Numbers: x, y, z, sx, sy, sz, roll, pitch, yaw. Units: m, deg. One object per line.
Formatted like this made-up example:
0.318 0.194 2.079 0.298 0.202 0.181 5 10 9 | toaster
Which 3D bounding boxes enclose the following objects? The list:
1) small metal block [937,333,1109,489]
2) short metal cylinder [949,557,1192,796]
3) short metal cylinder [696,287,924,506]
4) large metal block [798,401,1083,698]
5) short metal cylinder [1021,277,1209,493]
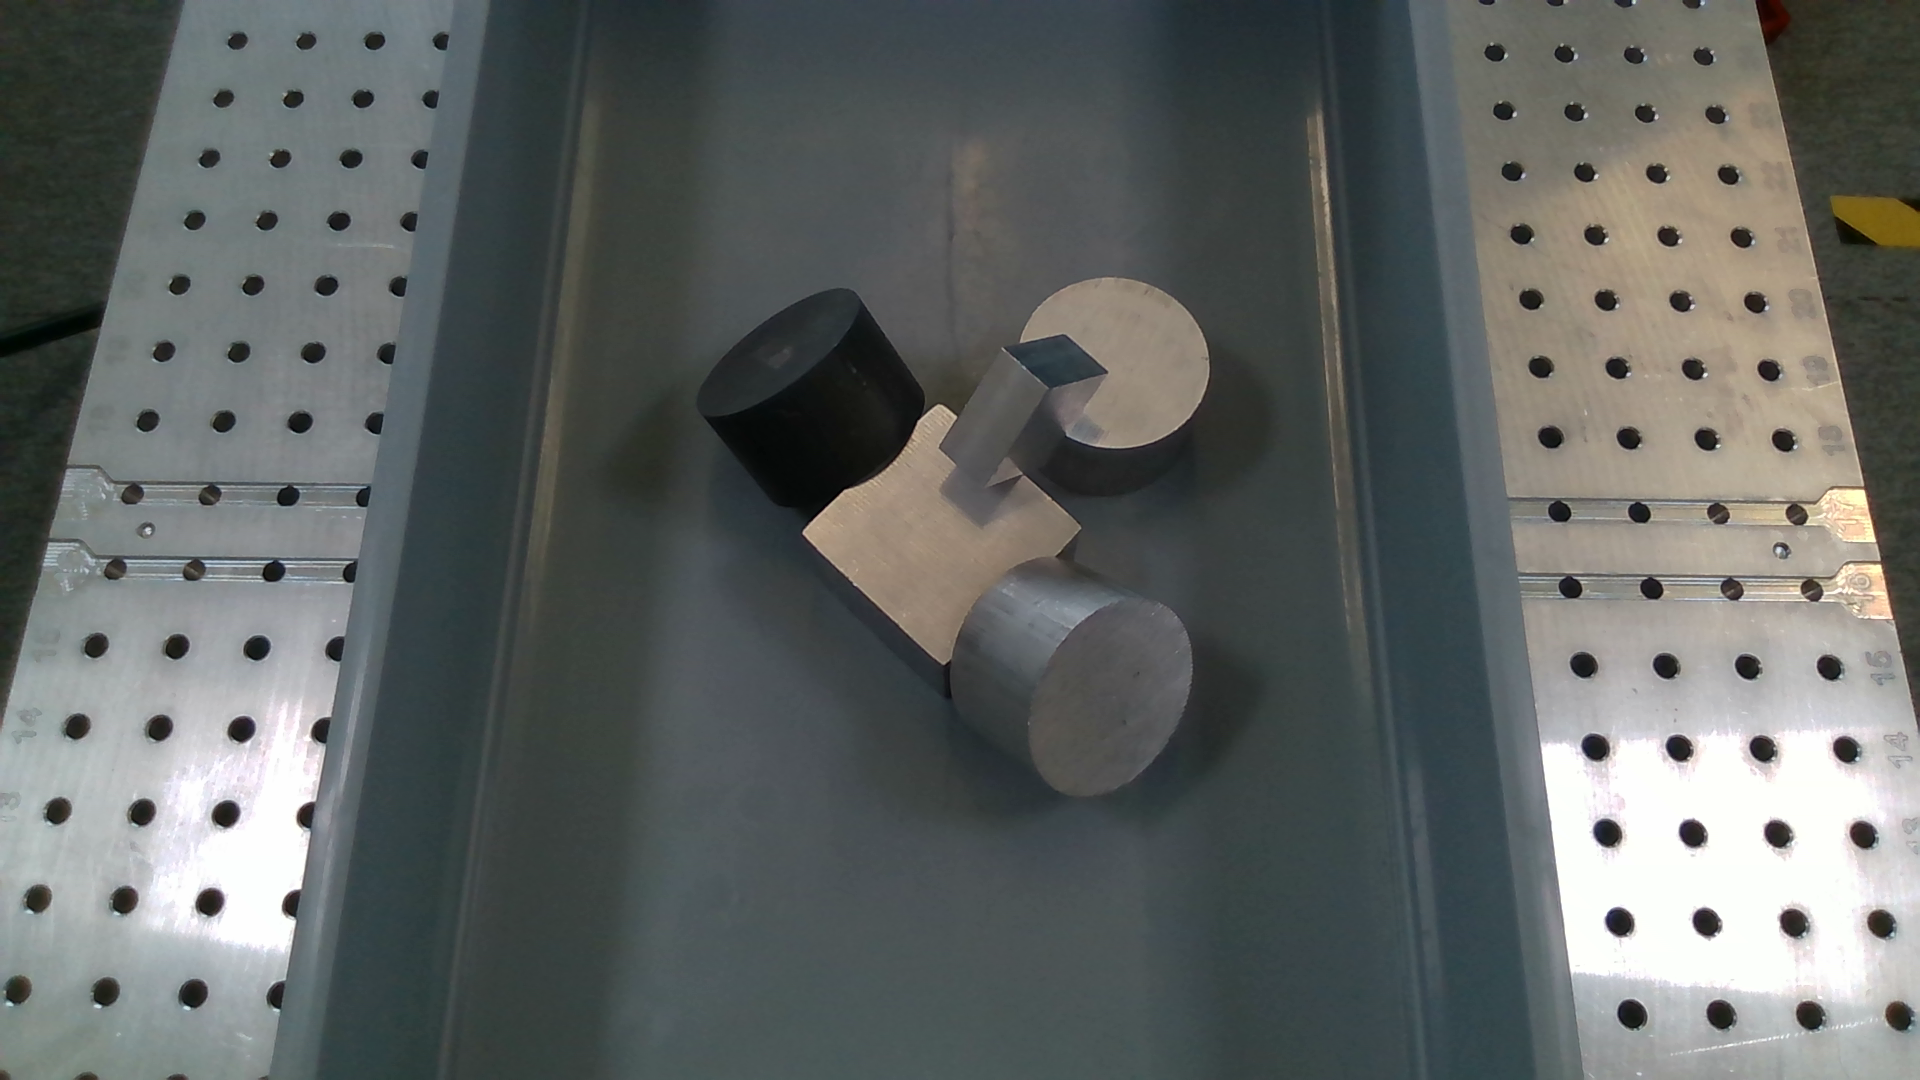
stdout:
0.025 -0.051 0.540 0.025 0.050 0.050 43 32 16 | small metal block
0.043 0.051 0.532 0.080 0.080 0.050 -45 38 -14 | short metal cylinder
-0.062 -0.060 0.573 0.080 0.050 0.080 -26 31 17 | short metal cylinder
-0.008 0.004 0.570 0.080 0.050 0.080 42 76 14 | large metal block
0.064 -0.066 0.598 0.080 0.050 0.080 0 70 0 | short metal cylinder
